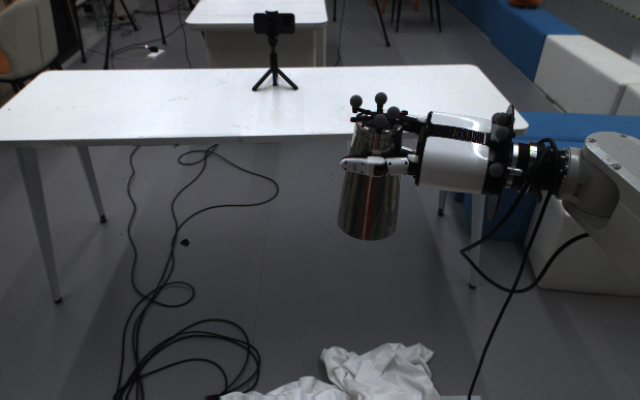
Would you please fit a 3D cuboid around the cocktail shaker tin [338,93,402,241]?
[{"bbox_3d":[0.079,-0.040,0.711,0.093,0.170,0.093,3,33,-2],"label":"cocktail shaker tin"}]
